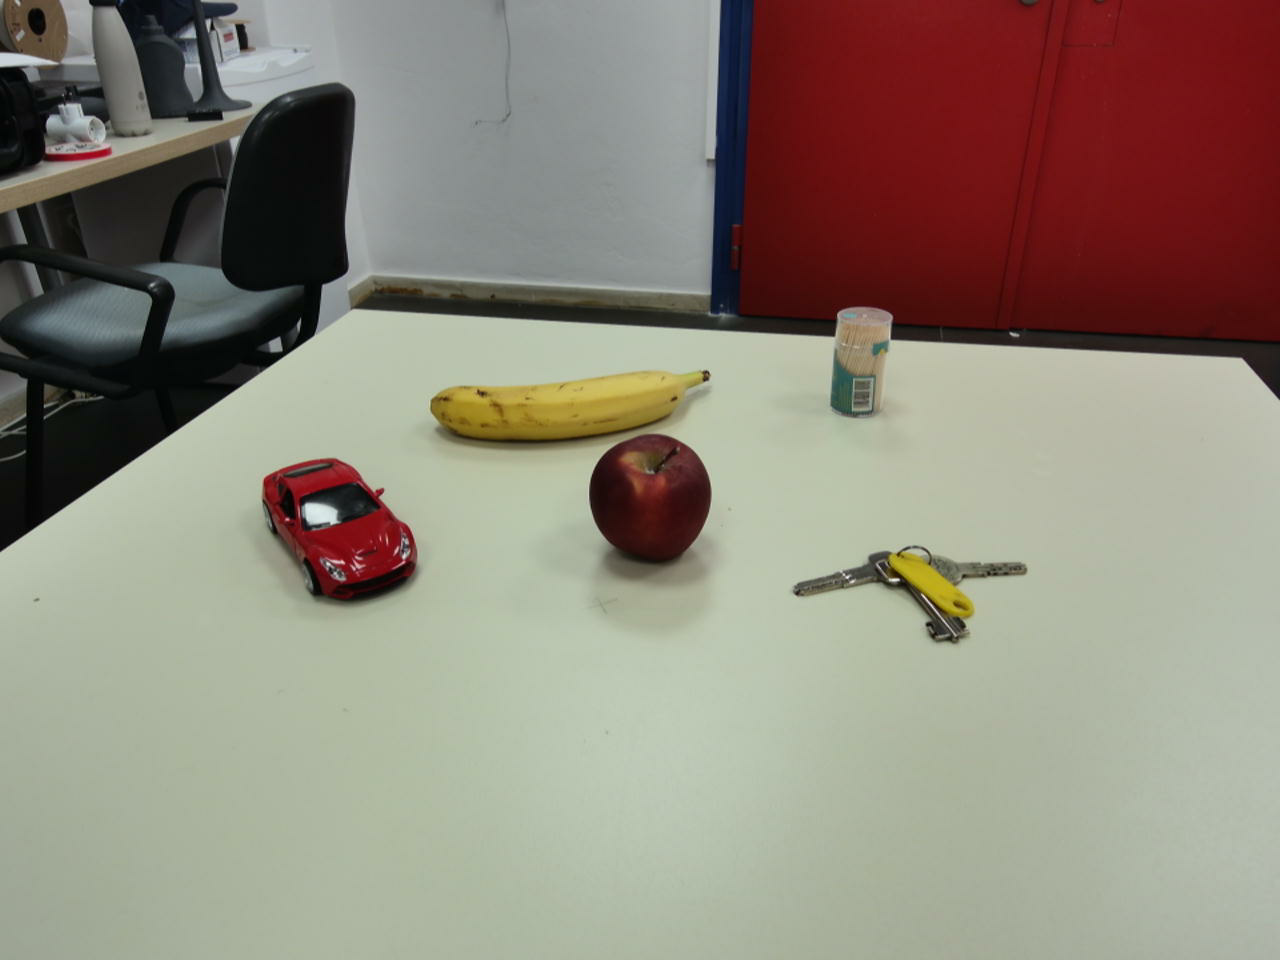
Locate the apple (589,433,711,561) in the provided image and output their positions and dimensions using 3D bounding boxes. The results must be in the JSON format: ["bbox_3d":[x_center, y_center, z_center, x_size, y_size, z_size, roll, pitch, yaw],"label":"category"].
[{"bbox_3d":[0.006,0.010,0.564,0.070,0.072,0.070,1,26,0],"label":"apple"}]
